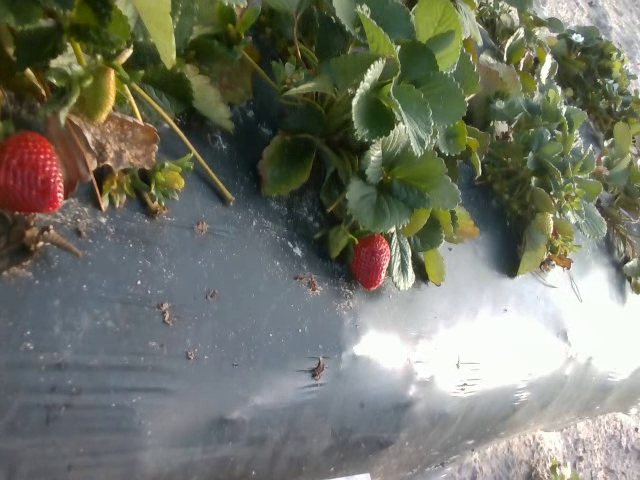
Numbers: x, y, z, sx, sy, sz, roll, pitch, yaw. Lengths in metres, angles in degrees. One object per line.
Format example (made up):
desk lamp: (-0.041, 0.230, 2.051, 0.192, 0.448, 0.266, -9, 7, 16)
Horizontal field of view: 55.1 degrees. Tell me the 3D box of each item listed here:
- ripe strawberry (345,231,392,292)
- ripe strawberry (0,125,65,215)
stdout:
ripe strawberry: (0.028, 0.014, 0.322, 0.029, 0.036, 0.021, 10, -22, -35)
ripe strawberry: (-0.100, -0.020, 0.207, 0.031, 0.030, 0.025, -39, -2, -39)
